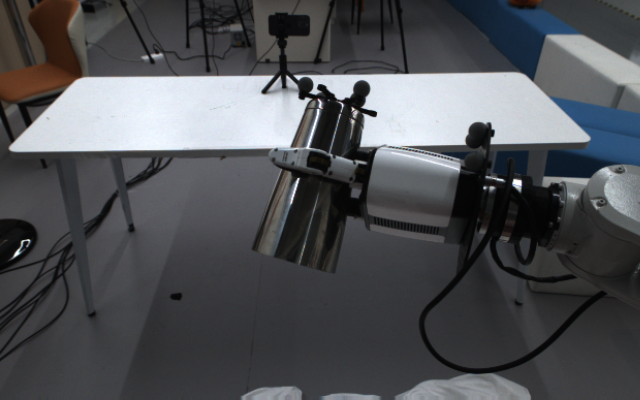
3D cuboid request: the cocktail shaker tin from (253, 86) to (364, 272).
[{"bbox_3d":[-0.005,-0.016,0.519,0.093,0.170,0.093,15,-6,2],"label":"cocktail shaker tin"}]
